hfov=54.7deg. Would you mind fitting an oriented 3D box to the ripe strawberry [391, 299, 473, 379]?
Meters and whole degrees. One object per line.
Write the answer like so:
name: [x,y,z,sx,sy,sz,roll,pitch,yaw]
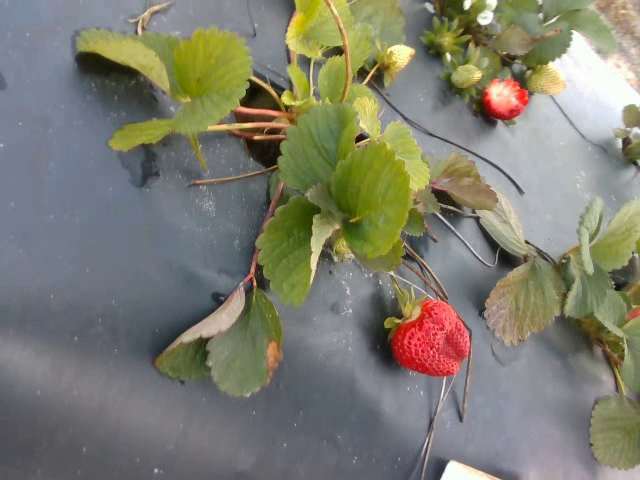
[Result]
ripe strawberry: [0.019,0.019,0.104,0.015,0.017,0.014,43,-13,25]
